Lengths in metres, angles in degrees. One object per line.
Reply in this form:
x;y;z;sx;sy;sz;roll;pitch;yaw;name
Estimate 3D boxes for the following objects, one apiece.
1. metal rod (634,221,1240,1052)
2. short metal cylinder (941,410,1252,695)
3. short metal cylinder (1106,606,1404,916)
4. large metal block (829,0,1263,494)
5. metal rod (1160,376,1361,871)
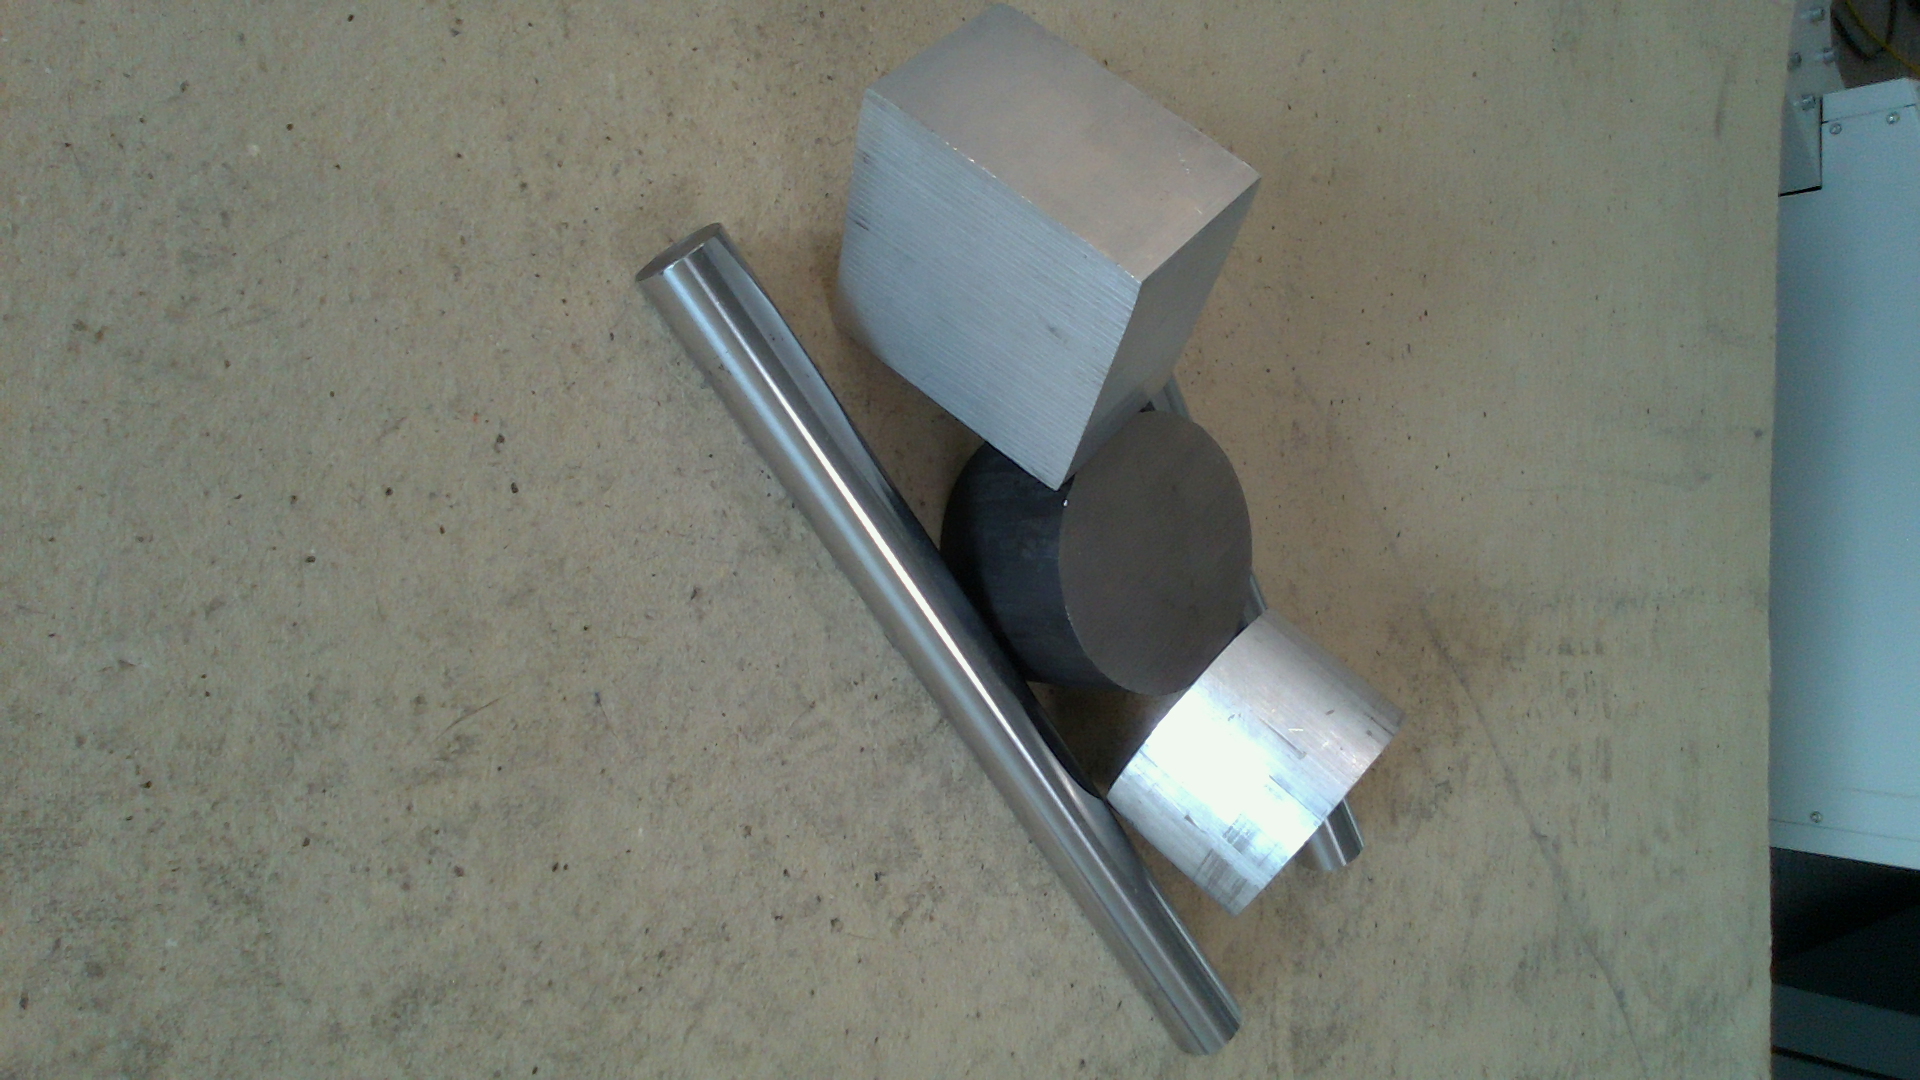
0.007;0.045;0.394;0.025;0.025;0.301;-48;118;-29;metal rod
0.041;0.003;0.407;0.080;0.050;0.080;0;90;-40;short metal cylinder
0.089;0.067;0.420;0.050;0.080;0.080;41;55;16;short metal cylinder
0.017;-0.072;0.348;0.080;0.080;0.050;38;58;13;large metal block
0.072;-0.015;0.448;0.025;0.025;0.300;-39;114;-33;metal rod
